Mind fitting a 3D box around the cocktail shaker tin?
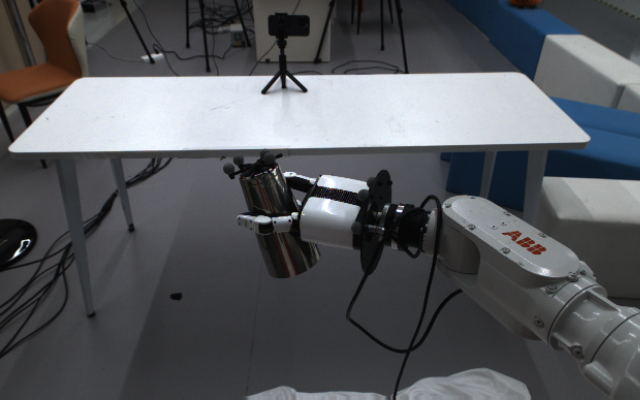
[{"bbox_3d":[-0.069,0.029,0.773,0.093,0.170,0.093,-17,20,7],"label":"cocktail shaker tin"}]
